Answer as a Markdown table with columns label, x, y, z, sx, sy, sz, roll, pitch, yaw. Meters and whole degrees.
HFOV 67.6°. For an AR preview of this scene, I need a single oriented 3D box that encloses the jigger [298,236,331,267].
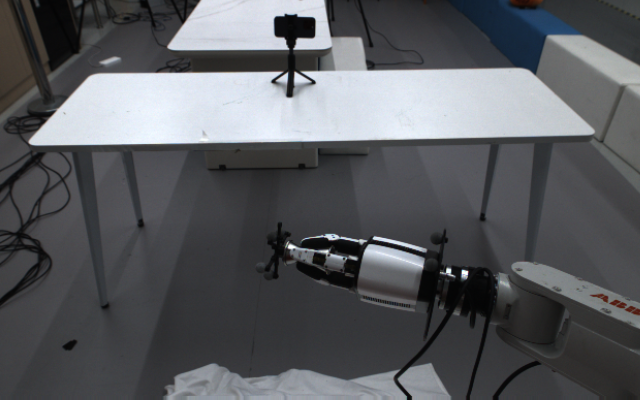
| label | x | y | z | sx | sy | sz | roll | pitch | yaw |
| --- | --- | --- | --- | --- | --- | --- | --- | --- | --- |
| jigger | -0.010 | 0.079 | 0.719 | 0.071 | 0.043 | 0.043 | 7 | 35 | 16 |
